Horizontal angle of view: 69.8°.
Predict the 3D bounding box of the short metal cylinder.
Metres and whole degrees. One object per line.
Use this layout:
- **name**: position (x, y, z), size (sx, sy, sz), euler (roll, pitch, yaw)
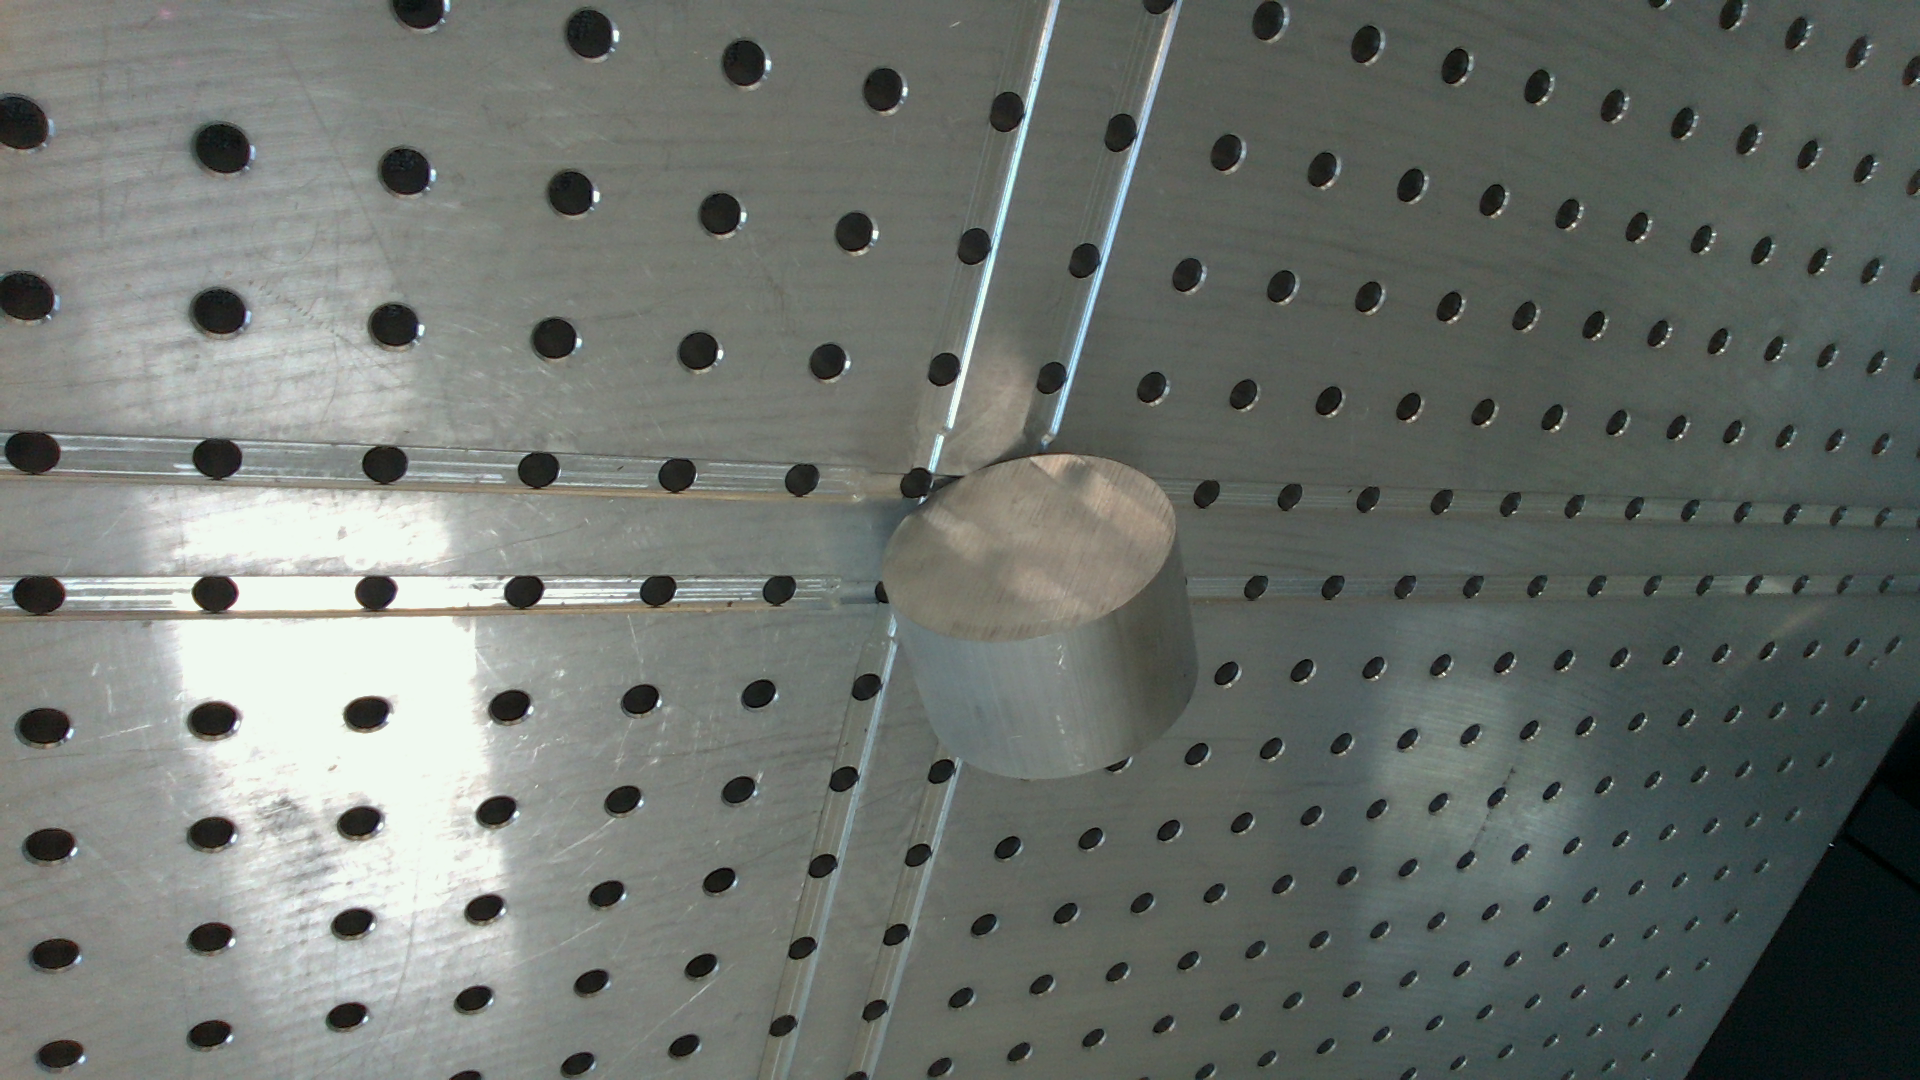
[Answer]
- **short metal cylinder**: position (0.023, 0.020, 0.380), size (0.080, 0.080, 0.050), euler (-25, 127, -13)
